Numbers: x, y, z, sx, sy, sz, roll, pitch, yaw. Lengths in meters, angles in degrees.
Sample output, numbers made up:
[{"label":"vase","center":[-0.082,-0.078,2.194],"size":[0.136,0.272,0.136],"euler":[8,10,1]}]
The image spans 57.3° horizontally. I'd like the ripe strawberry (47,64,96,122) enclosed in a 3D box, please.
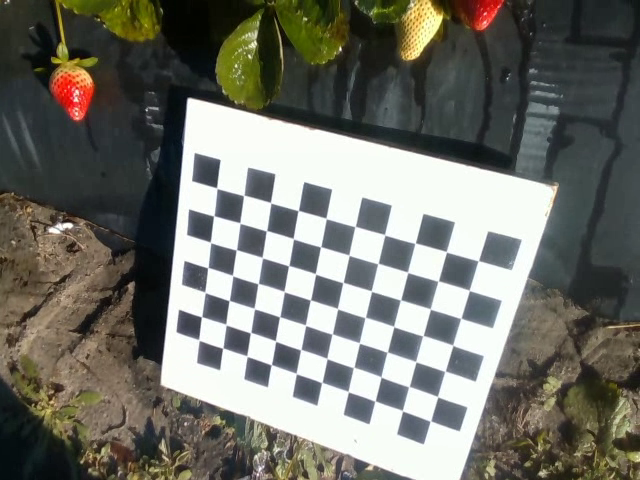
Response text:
[{"label":"ripe strawberry","center":[-0.203,-0.120,0.486],"size":[0.039,0.053,0.040],"euler":[-6,-3,20]}]
